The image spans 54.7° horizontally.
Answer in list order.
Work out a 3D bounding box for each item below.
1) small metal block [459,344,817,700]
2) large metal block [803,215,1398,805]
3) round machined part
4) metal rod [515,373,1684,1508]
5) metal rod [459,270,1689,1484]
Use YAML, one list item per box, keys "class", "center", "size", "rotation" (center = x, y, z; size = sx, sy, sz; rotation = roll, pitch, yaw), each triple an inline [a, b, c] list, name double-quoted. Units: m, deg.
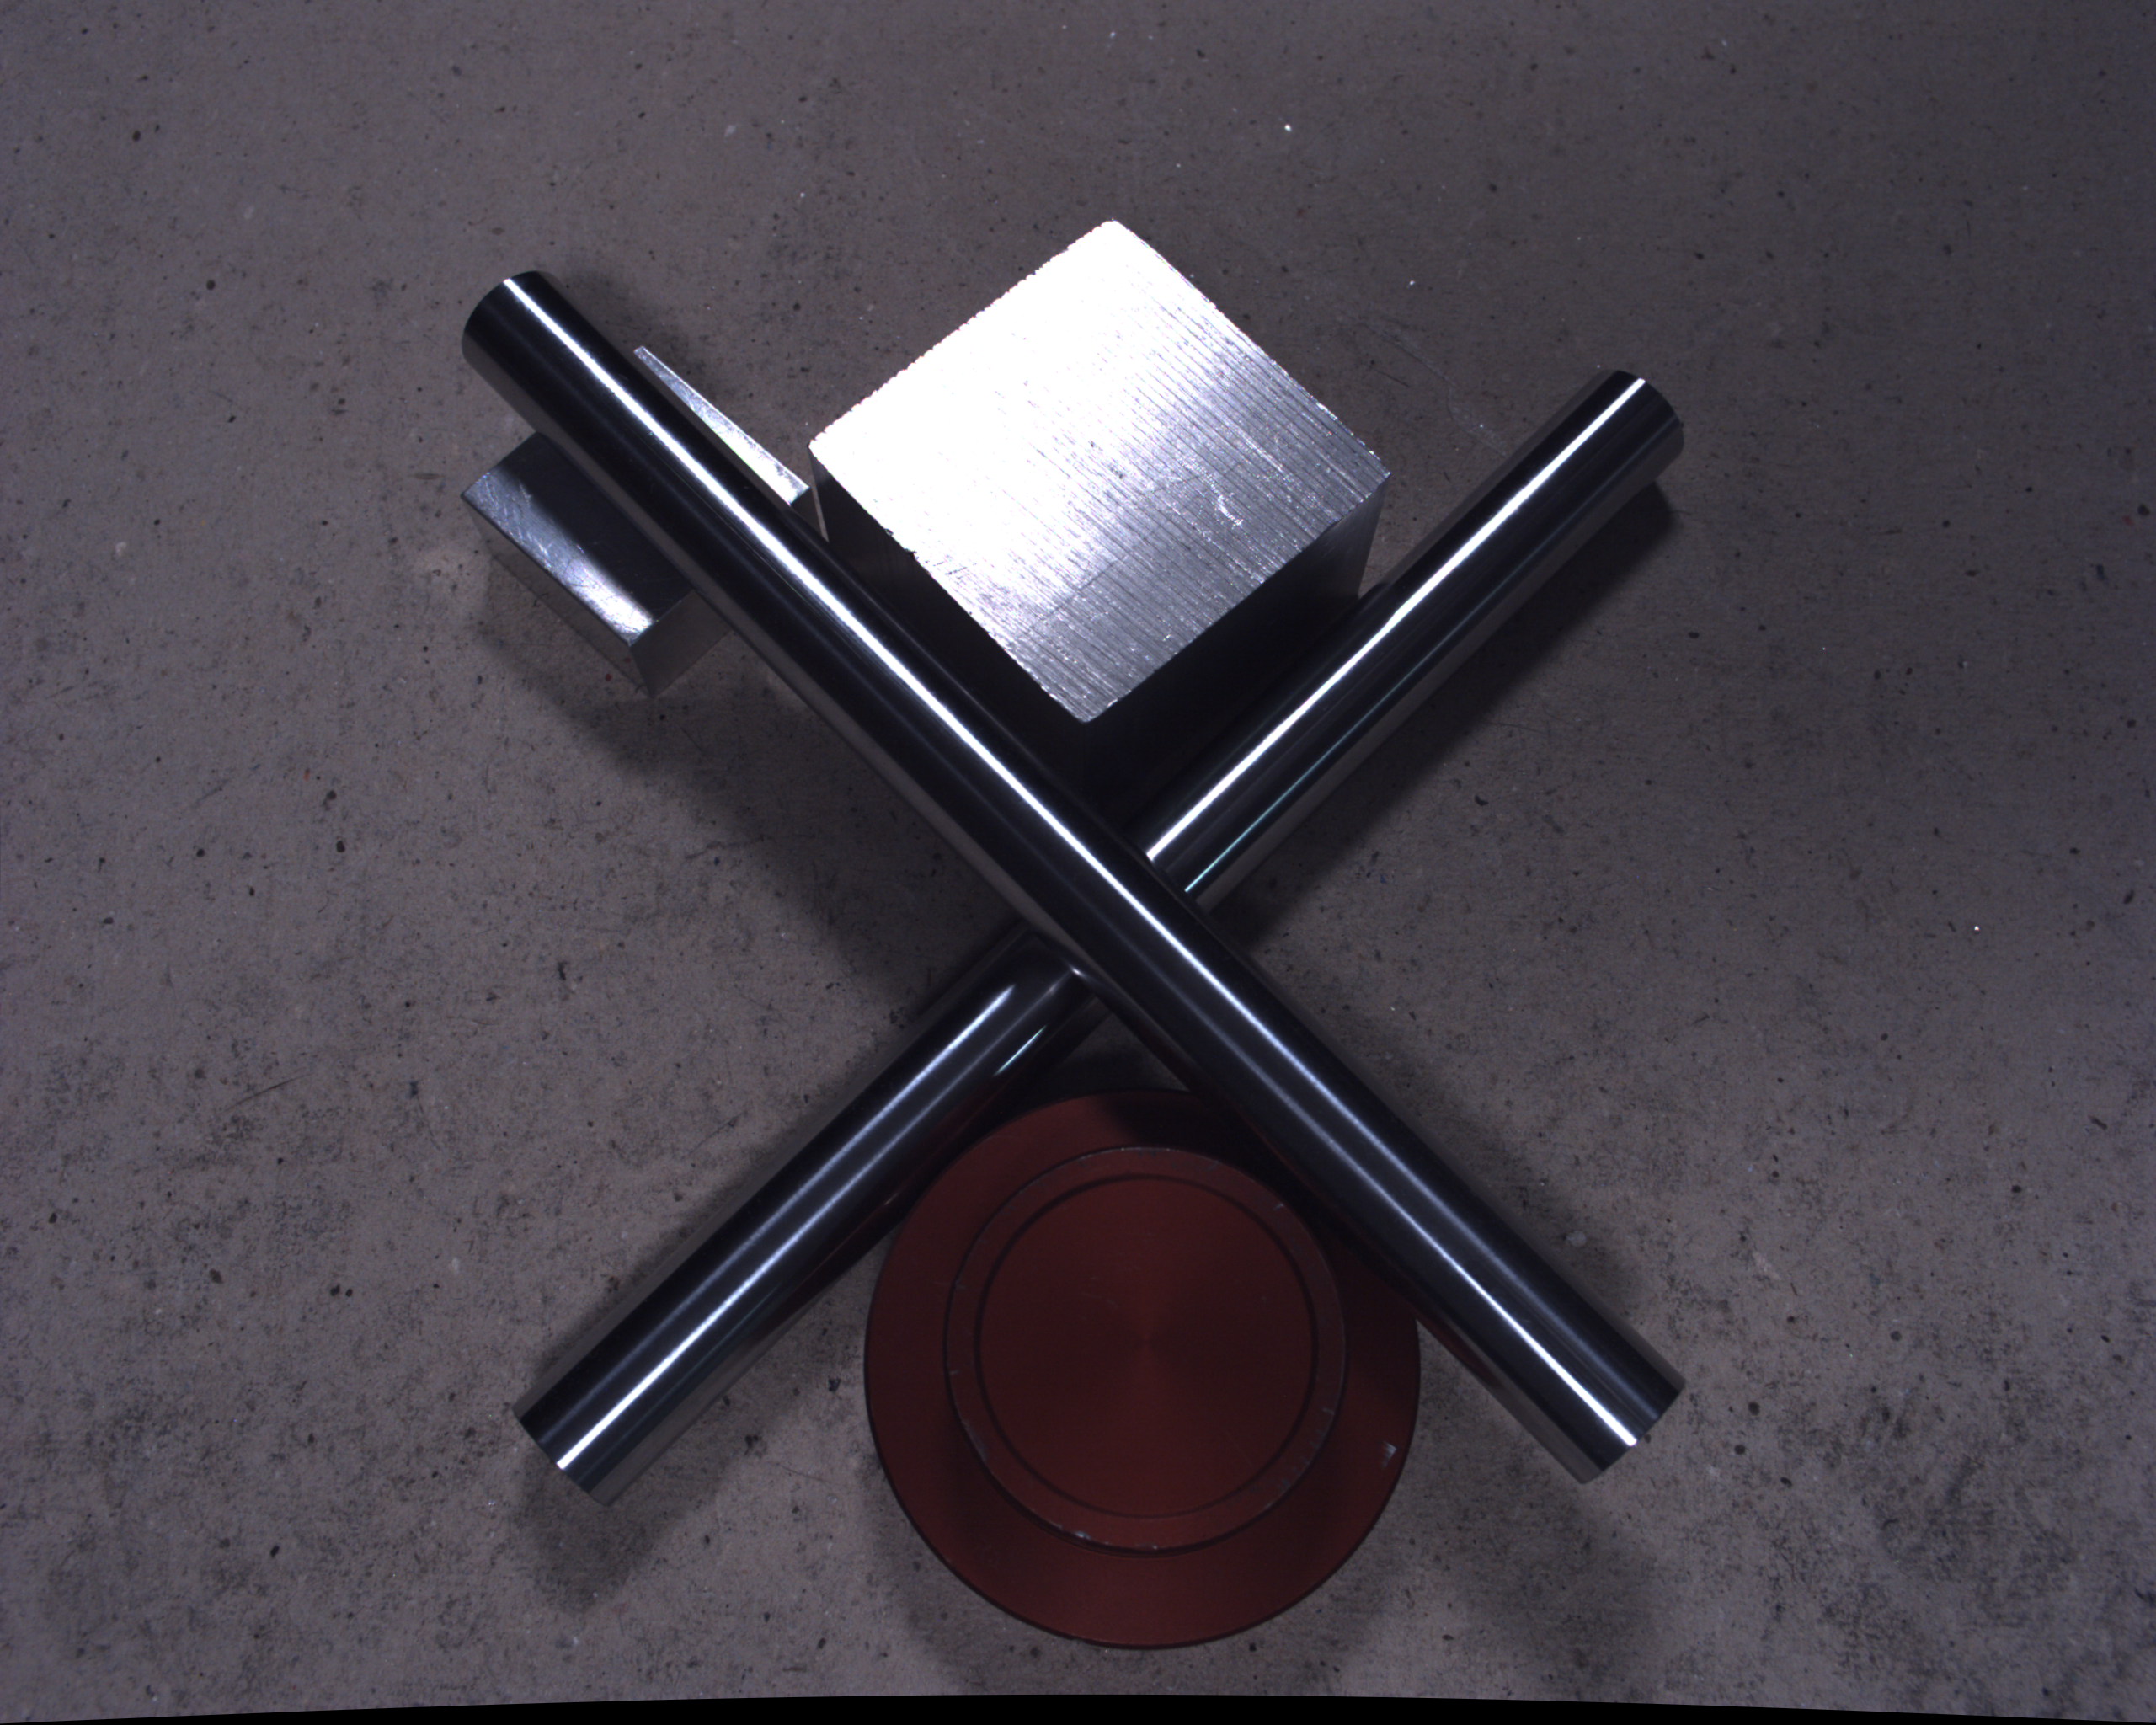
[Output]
- class: "small metal block"
  center: [-0.090, -0.071, 0.435]
  size: [0.050, 0.025, 0.050]
  rotation: [41, 75, 13]
- class: "large metal block"
  center: [0.004, -0.069, 0.422]
  size: [0.080, 0.050, 0.080]
  rotation: [-40, 75, -14]
- class: "round machined part"
  center: [0.012, 0.087, 0.368]
  size: [0.099, 0.042, 0.098]
  rotation: [0, 70, -1]
- class: "metal rod"
  center: [0.014, 0.005, 0.409]
  size: [0.025, 0.025, 0.301]
  rotation: [43, 75, 13]
- class: "metal rod"
  center: [-0.011, -0.007, 0.385]
  size: [0.025, 0.025, 0.300]
  rotation: [-42, 76, -14]
